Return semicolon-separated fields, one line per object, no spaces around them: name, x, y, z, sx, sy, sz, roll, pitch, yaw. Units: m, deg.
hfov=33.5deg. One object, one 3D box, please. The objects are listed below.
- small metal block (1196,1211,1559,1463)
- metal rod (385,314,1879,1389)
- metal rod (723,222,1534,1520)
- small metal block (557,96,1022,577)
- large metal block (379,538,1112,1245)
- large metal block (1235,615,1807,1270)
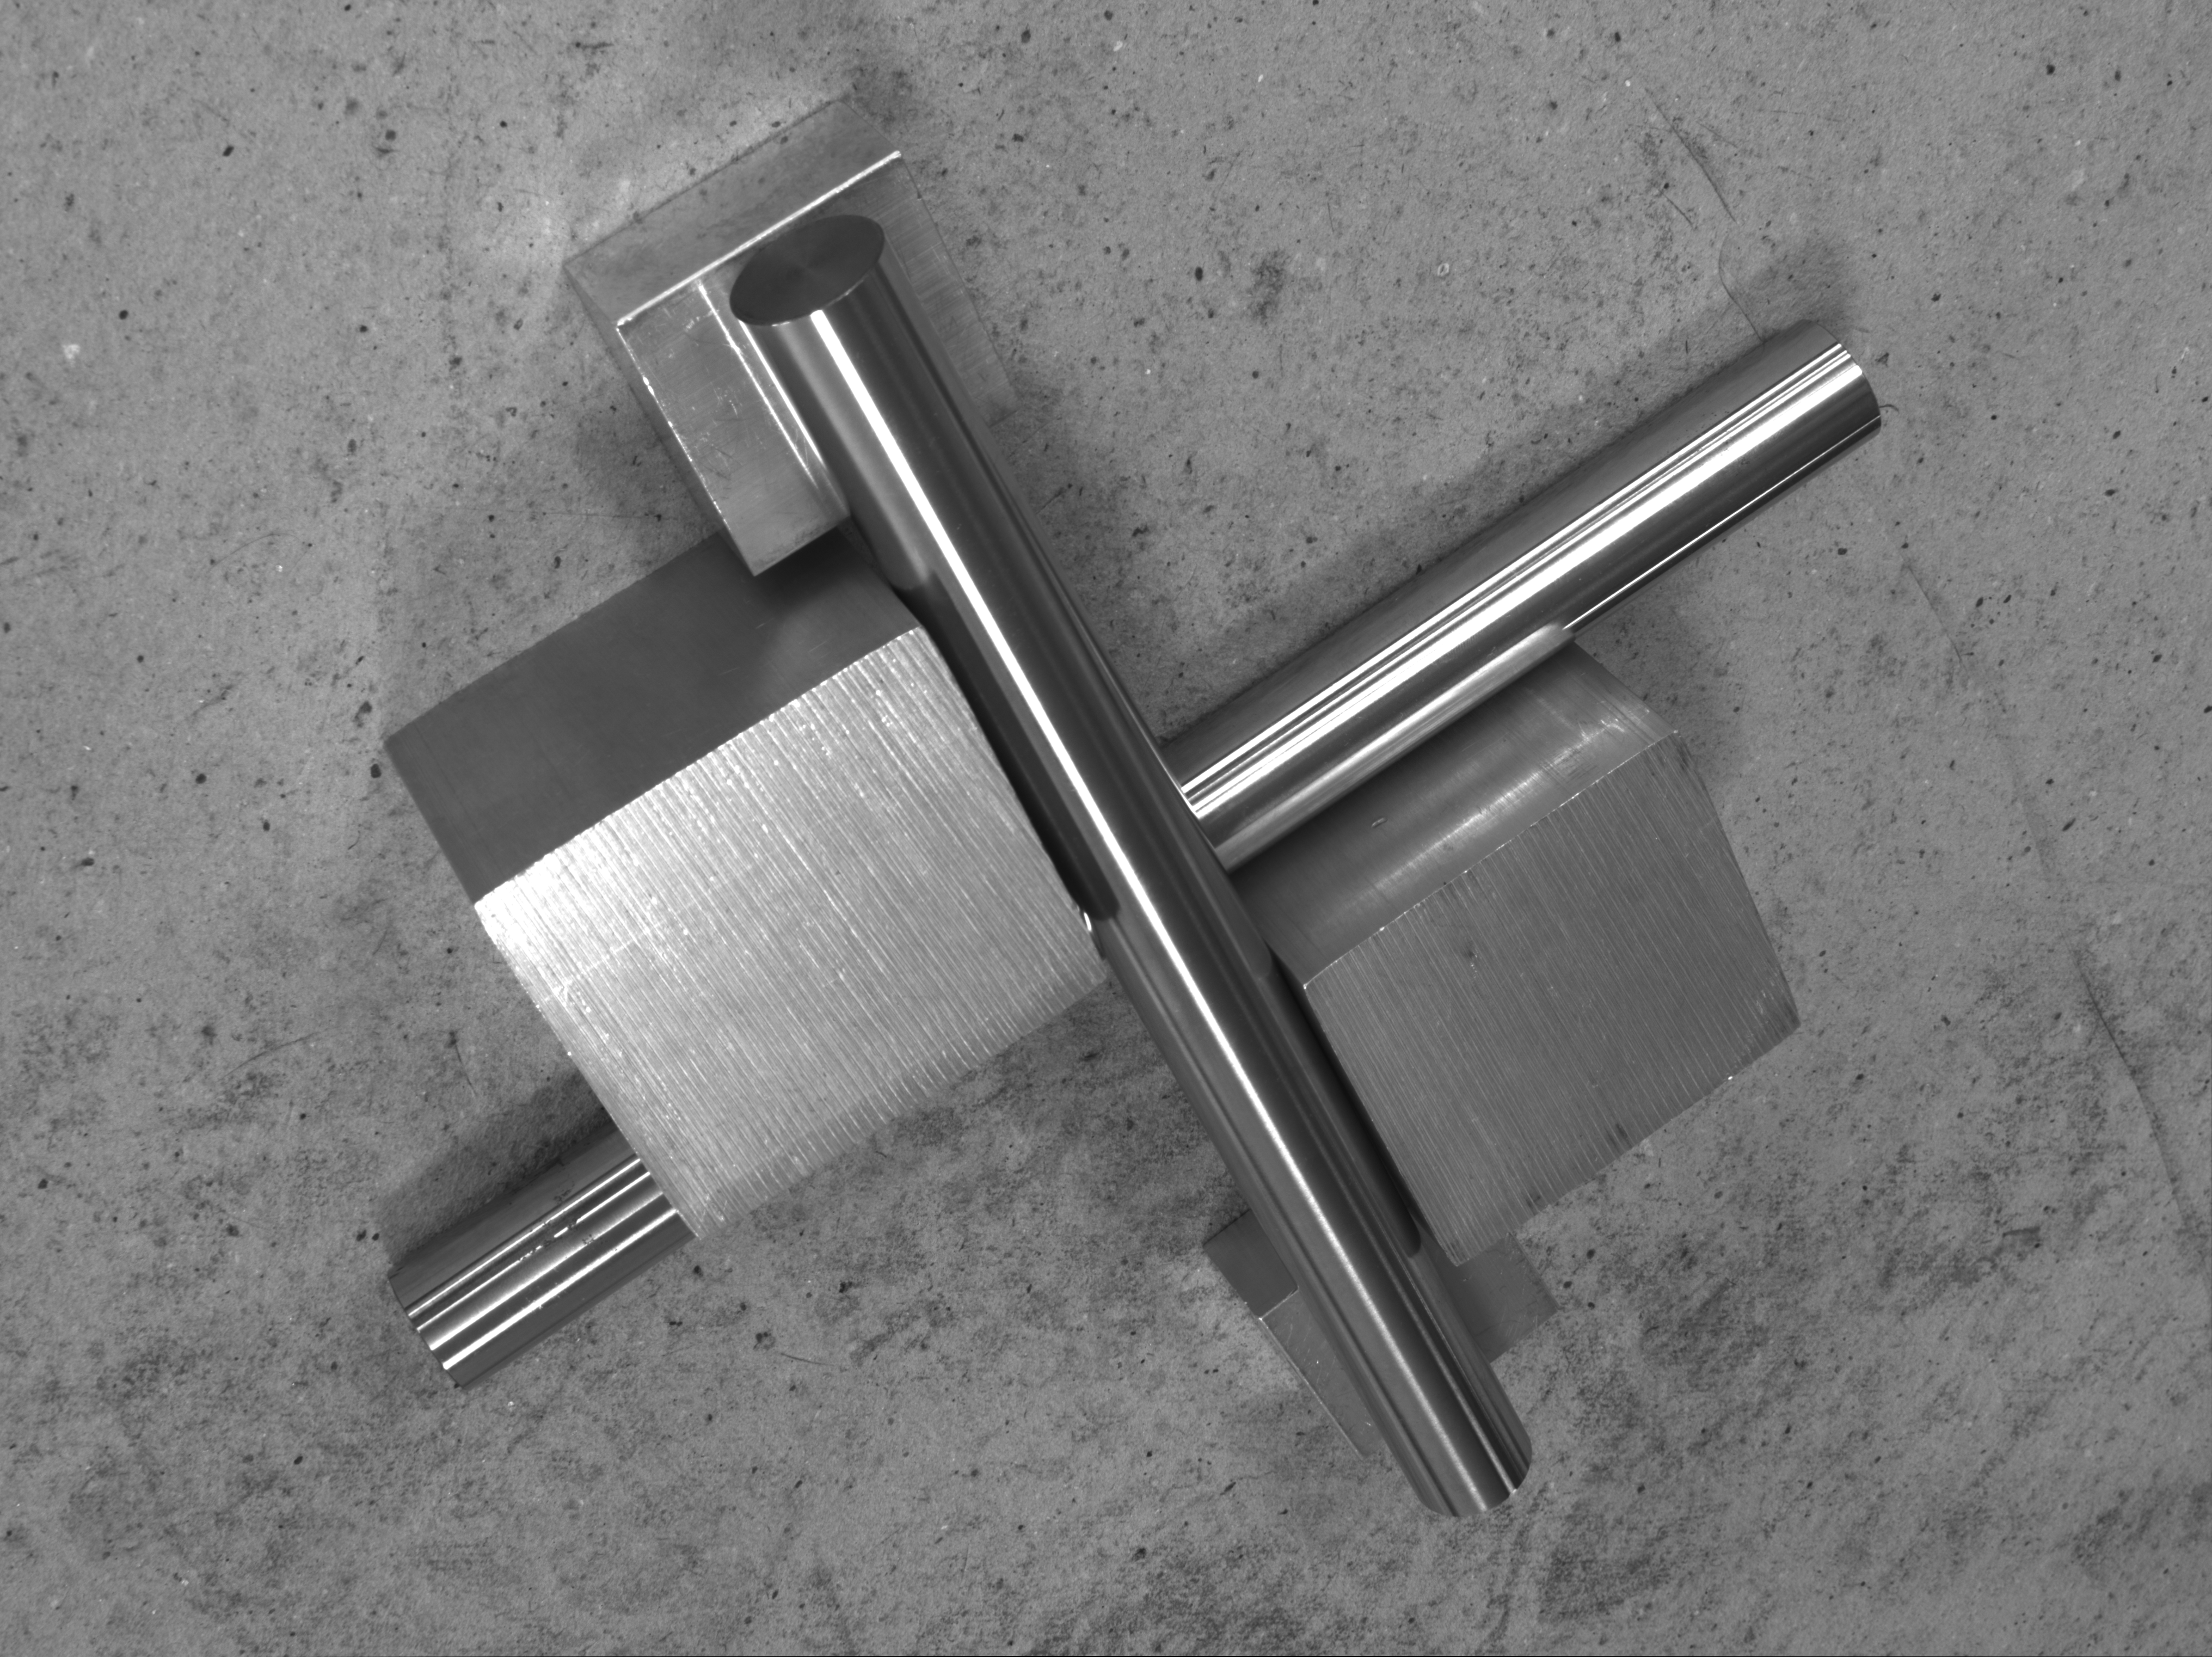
small metal block;0.054;0.088;0.721;0.050;0.025;0.050;-37;129;-3
metal rod;0.007;0.002;0.644;0.300;0.025;0.025;-34;129;-6
metal rod;0.014;0.023;0.626;0.025;0.025;0.301;-34;129;-6
small metal block;-0.048;-0.076;0.567;0.050;0.025;0.050;-33;128;-7
large metal block;-0.057;0.006;0.593;0.080;0.050;0.080;-33;128;-7
large metal block;0.071;0.019;0.672;0.080;0.050;0.080;-34;129;-6
